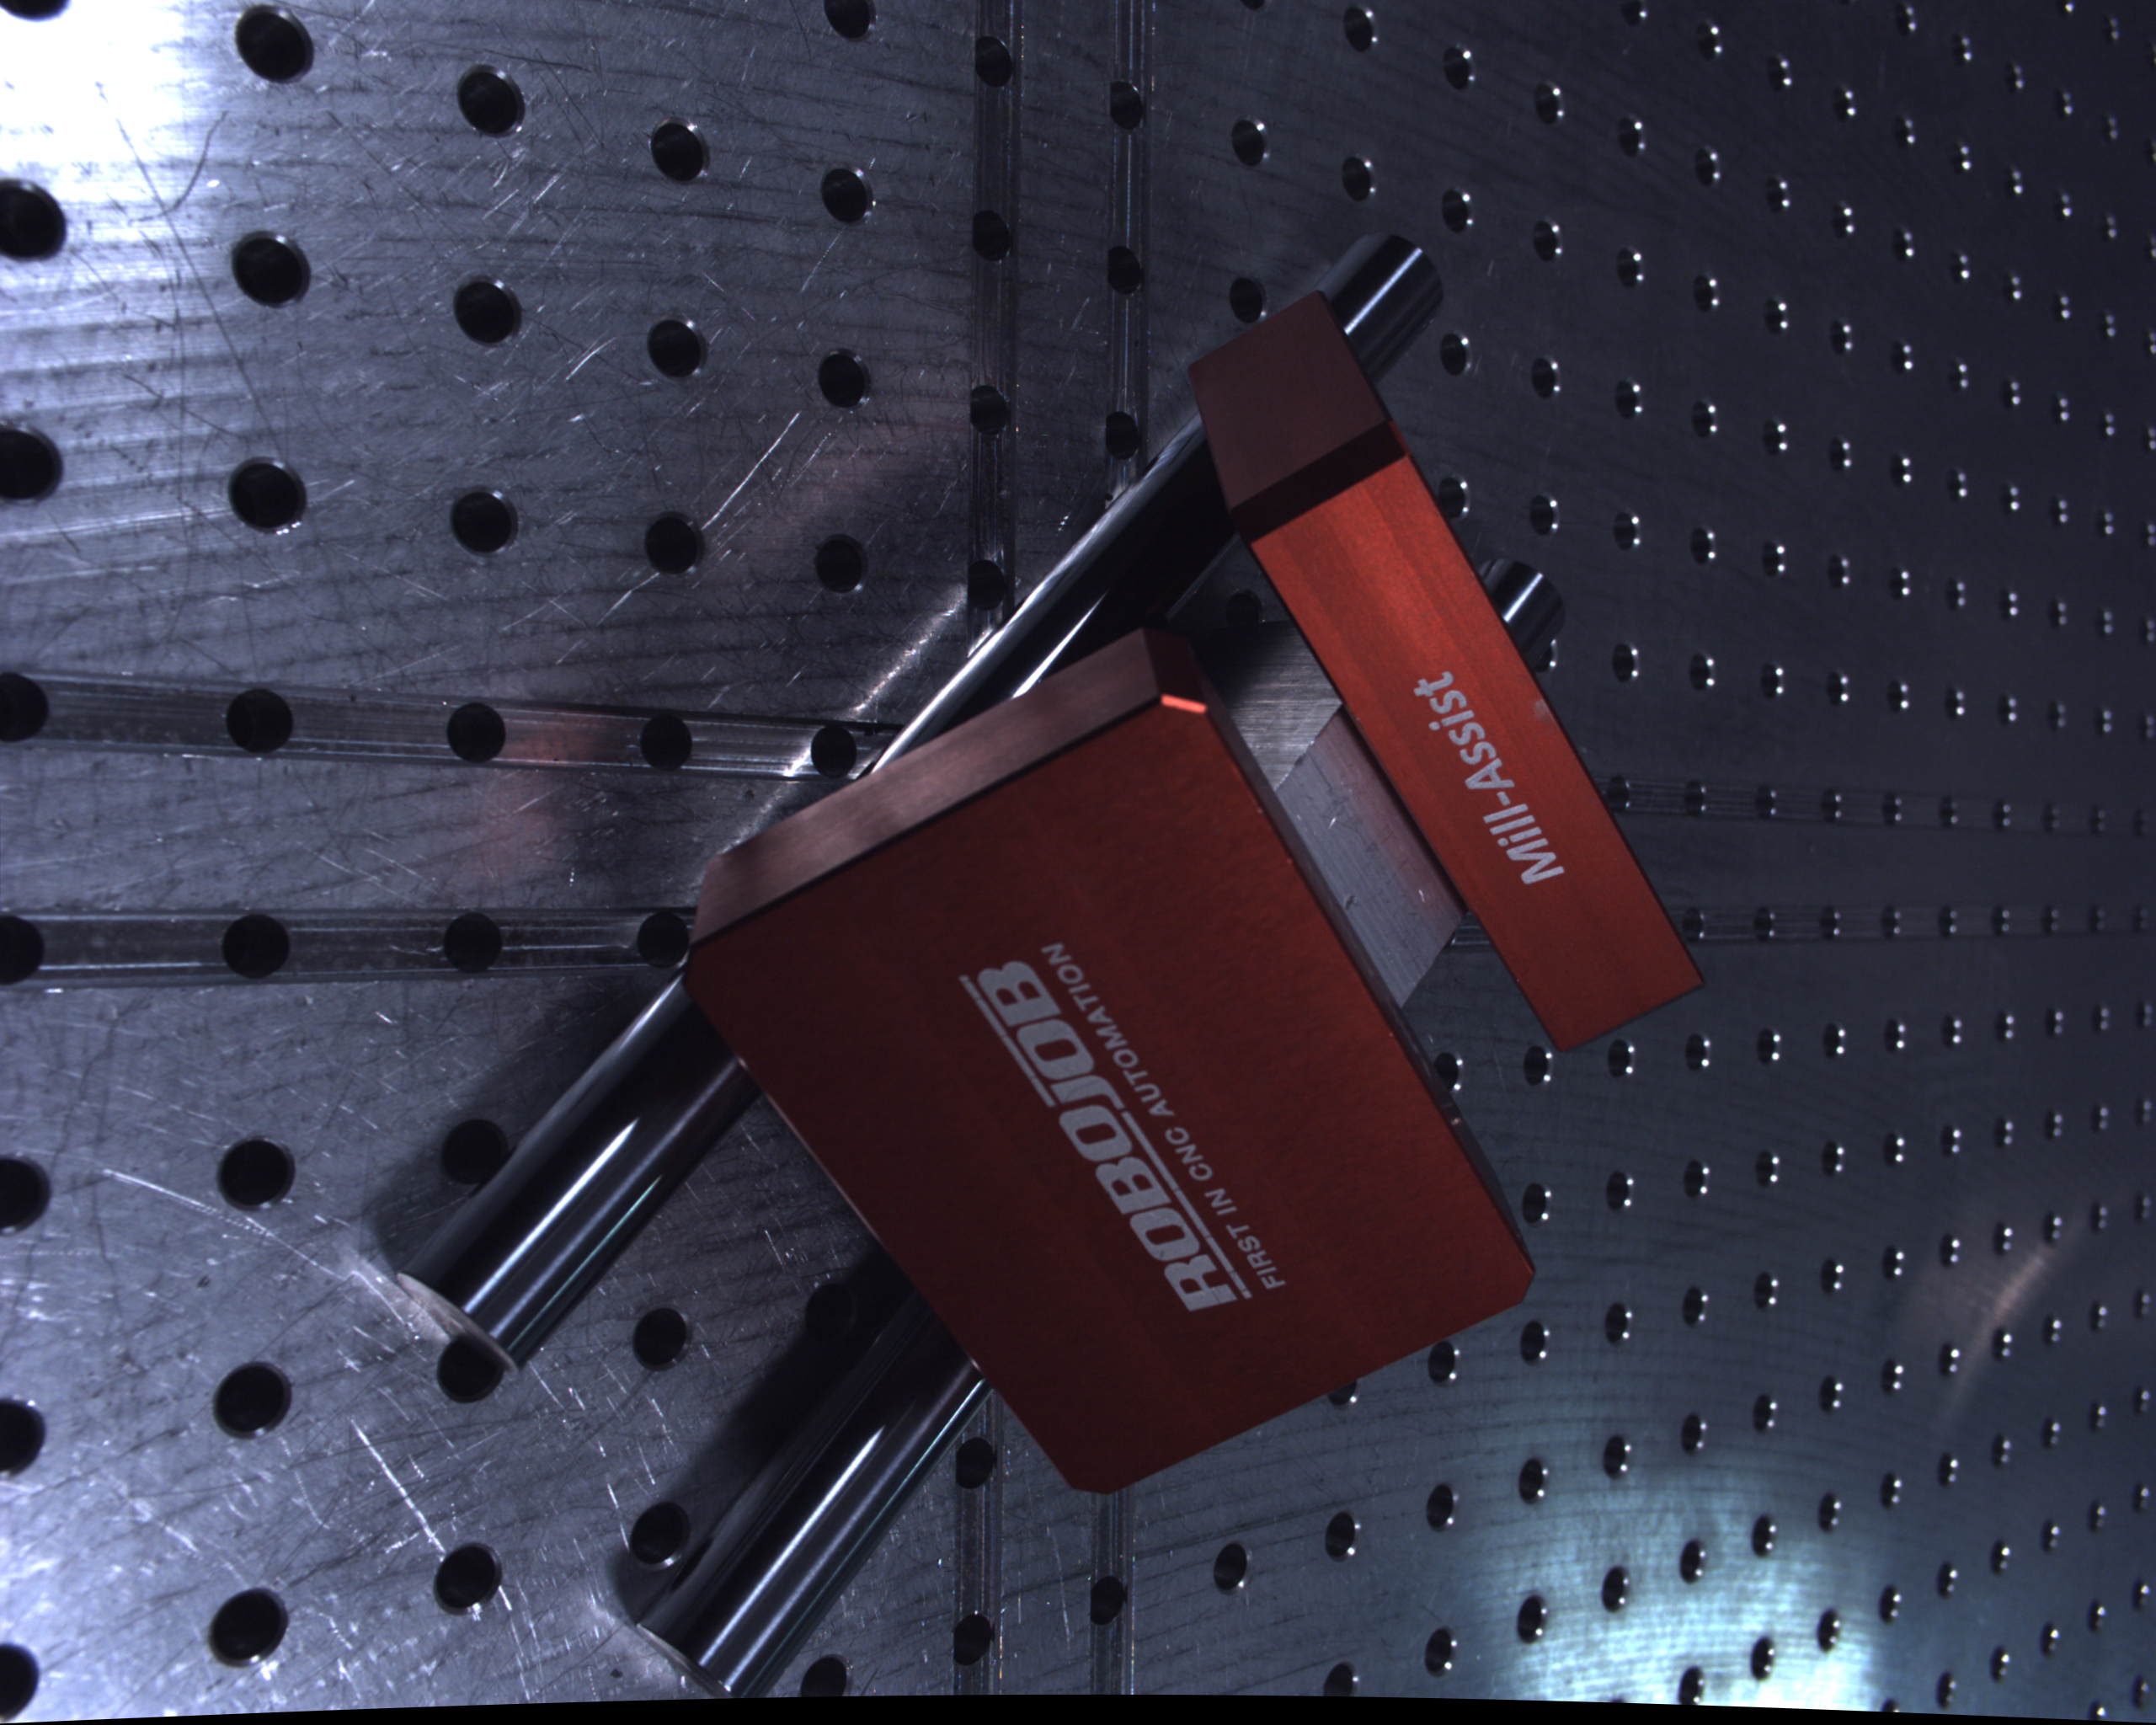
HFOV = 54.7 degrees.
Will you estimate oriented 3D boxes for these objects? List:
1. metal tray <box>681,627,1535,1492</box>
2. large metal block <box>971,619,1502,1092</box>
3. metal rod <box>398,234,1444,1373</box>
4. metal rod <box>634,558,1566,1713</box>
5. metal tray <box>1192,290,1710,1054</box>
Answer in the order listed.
[{"bbox_3d":[0.008,0.037,0.347,0.090,0.030,0.130,-28,115,9],"label":"metal tray"},{"bbox_3d":[0.027,-0.002,0.397,0.080,0.080,0.050,-50,120,-29],"label":"large metal block"},{"bbox_3d":[-0.013,-0.029,0.400,0.301,0.025,0.025,-50,120,-28],"label":"metal rod"},{"bbox_3d":[0.020,0.037,0.428,0.301,0.025,0.025,-49,120,-29],"label":"metal rod"},{"bbox_3d":[0.070,-0.037,0.399,0.130,0.030,0.090,54,15,-26],"label":"metal tray"}]
